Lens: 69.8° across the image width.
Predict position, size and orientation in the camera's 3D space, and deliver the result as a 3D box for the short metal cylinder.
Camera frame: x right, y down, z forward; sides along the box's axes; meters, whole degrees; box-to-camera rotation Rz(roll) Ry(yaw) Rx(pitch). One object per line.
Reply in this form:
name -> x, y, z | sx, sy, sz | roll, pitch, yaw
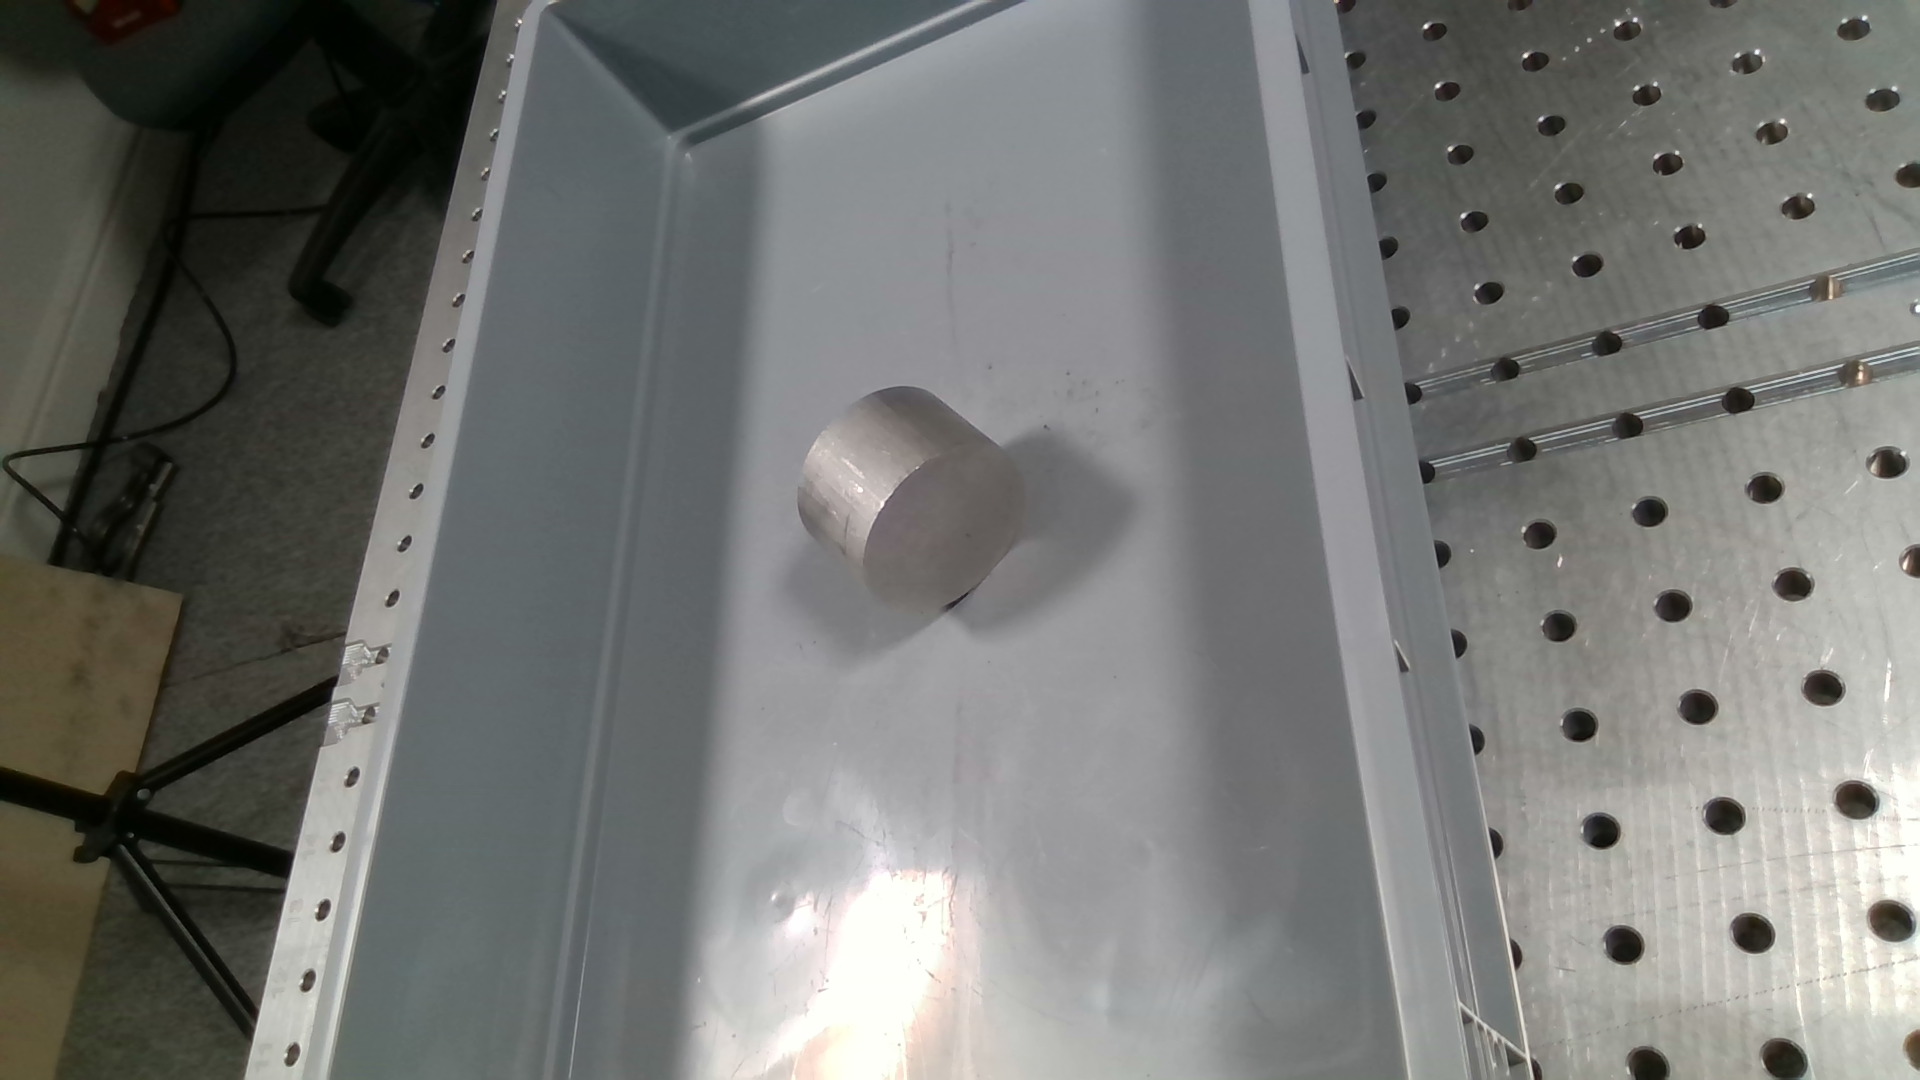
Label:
short metal cylinder -> -0.020, -0.017, 0.569 | 0.080, 0.080, 0.050 | -49, 51, 0
